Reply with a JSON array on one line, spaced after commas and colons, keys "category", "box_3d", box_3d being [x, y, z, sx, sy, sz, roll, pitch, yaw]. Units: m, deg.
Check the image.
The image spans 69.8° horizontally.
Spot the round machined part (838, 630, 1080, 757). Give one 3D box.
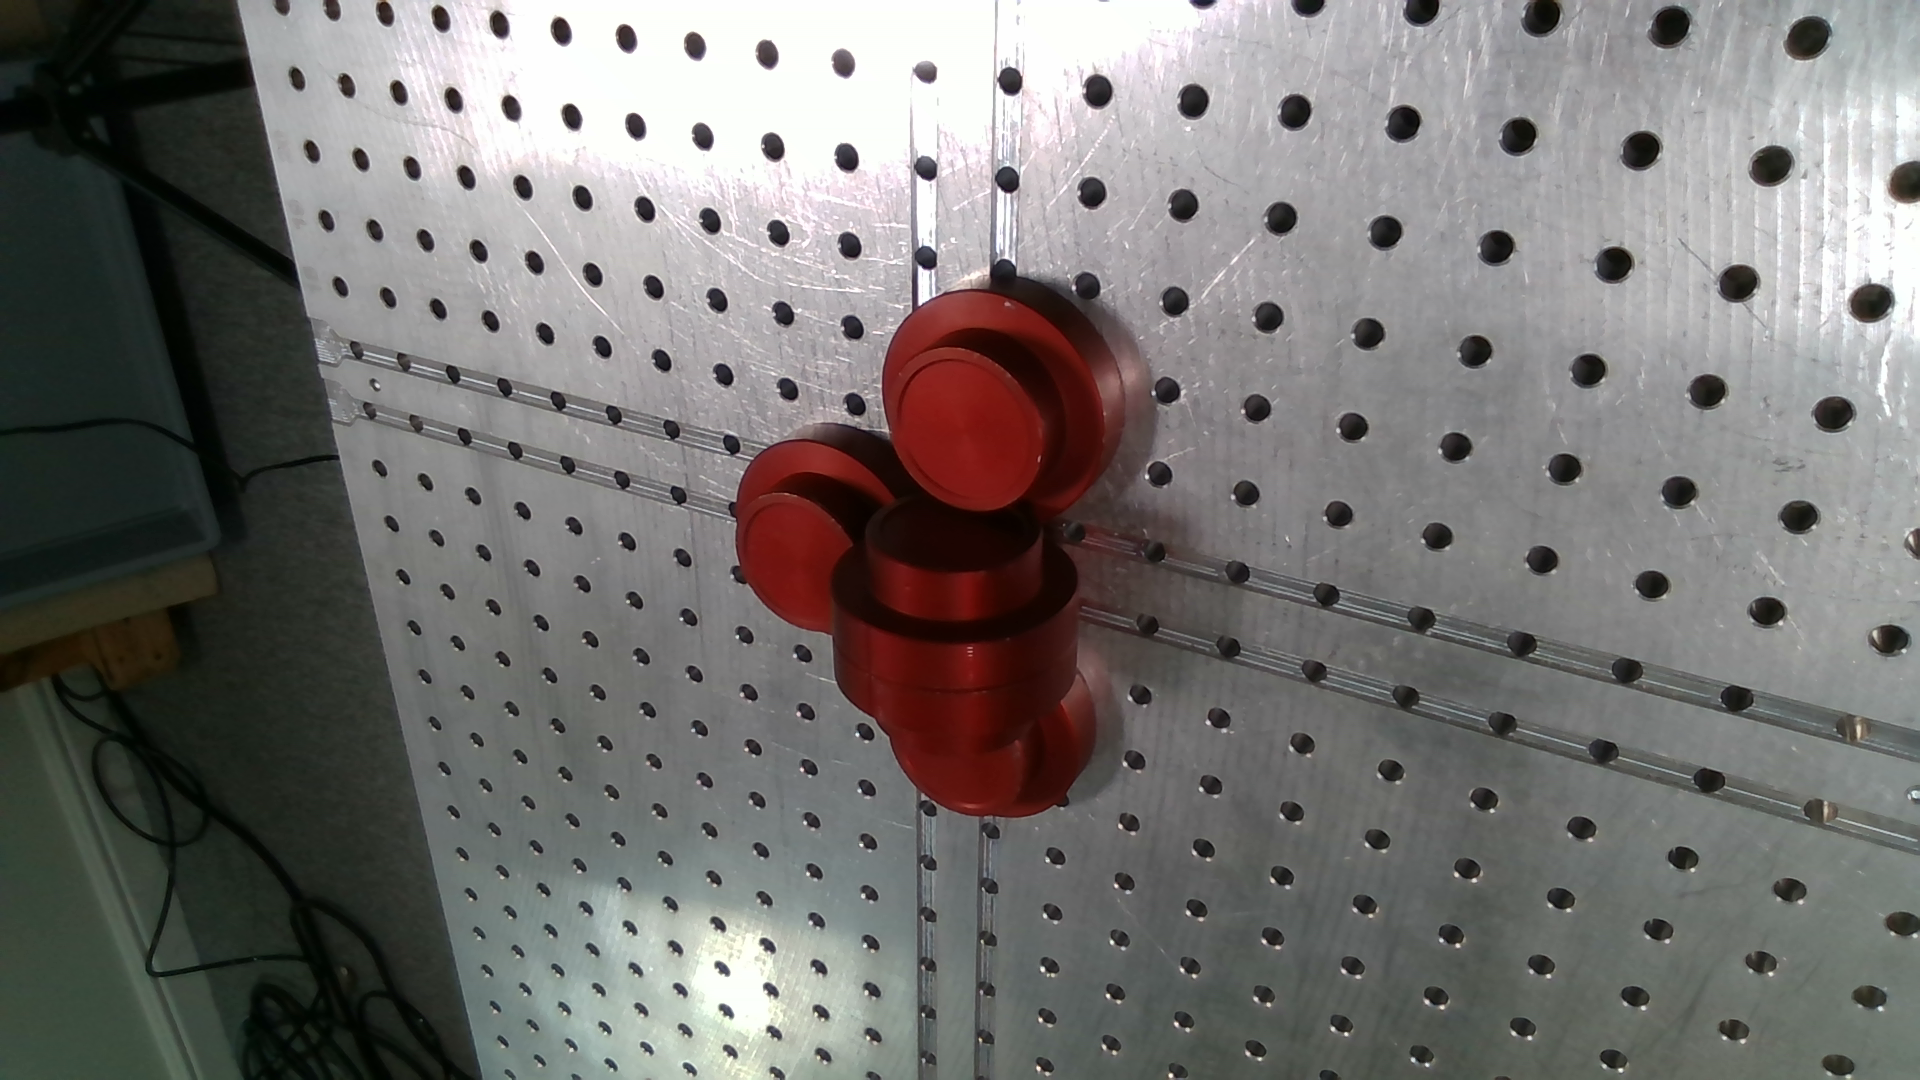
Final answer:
[{"category": "round machined part", "box_3d": [-0.001, 0.051, 0.557, 0.098, 0.098, 0.042, 14, 121, 25]}]

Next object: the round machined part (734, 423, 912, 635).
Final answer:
[{"category": "round machined part", "box_3d": [-0.060, 0.001, 0.609, 0.098, 0.042, 0.098, 14, 122, 25]}]

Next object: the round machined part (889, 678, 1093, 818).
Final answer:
[{"category": "round machined part", "box_3d": [0.007, 0.083, 0.612, 0.098, 0.042, 0.098, 14, 122, 25]}]

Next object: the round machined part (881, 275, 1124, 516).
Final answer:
[{"category": "round machined part", "box_3d": [0.011, -0.051, 0.537, 0.098, 0.042, 0.098, 14, 122, 25]}]

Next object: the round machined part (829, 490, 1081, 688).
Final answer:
[{"category": "round machined part", "box_3d": [-0.002, 0.013, 0.536, 0.098, 0.098, 0.042, 15, 122, 24]}]
